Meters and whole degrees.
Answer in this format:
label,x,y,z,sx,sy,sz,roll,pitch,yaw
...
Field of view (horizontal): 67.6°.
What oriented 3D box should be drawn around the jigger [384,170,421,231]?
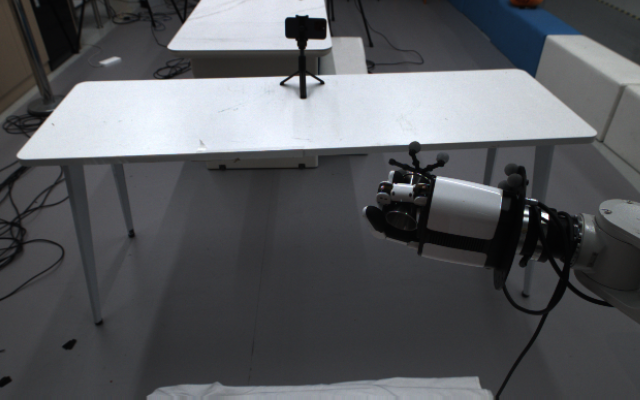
label,x,y,z,sx,sy,sz,roll,pitch,yaw
jigger,0.120,-0.002,0.647,0.043,0.043,0.071,15,58,18
